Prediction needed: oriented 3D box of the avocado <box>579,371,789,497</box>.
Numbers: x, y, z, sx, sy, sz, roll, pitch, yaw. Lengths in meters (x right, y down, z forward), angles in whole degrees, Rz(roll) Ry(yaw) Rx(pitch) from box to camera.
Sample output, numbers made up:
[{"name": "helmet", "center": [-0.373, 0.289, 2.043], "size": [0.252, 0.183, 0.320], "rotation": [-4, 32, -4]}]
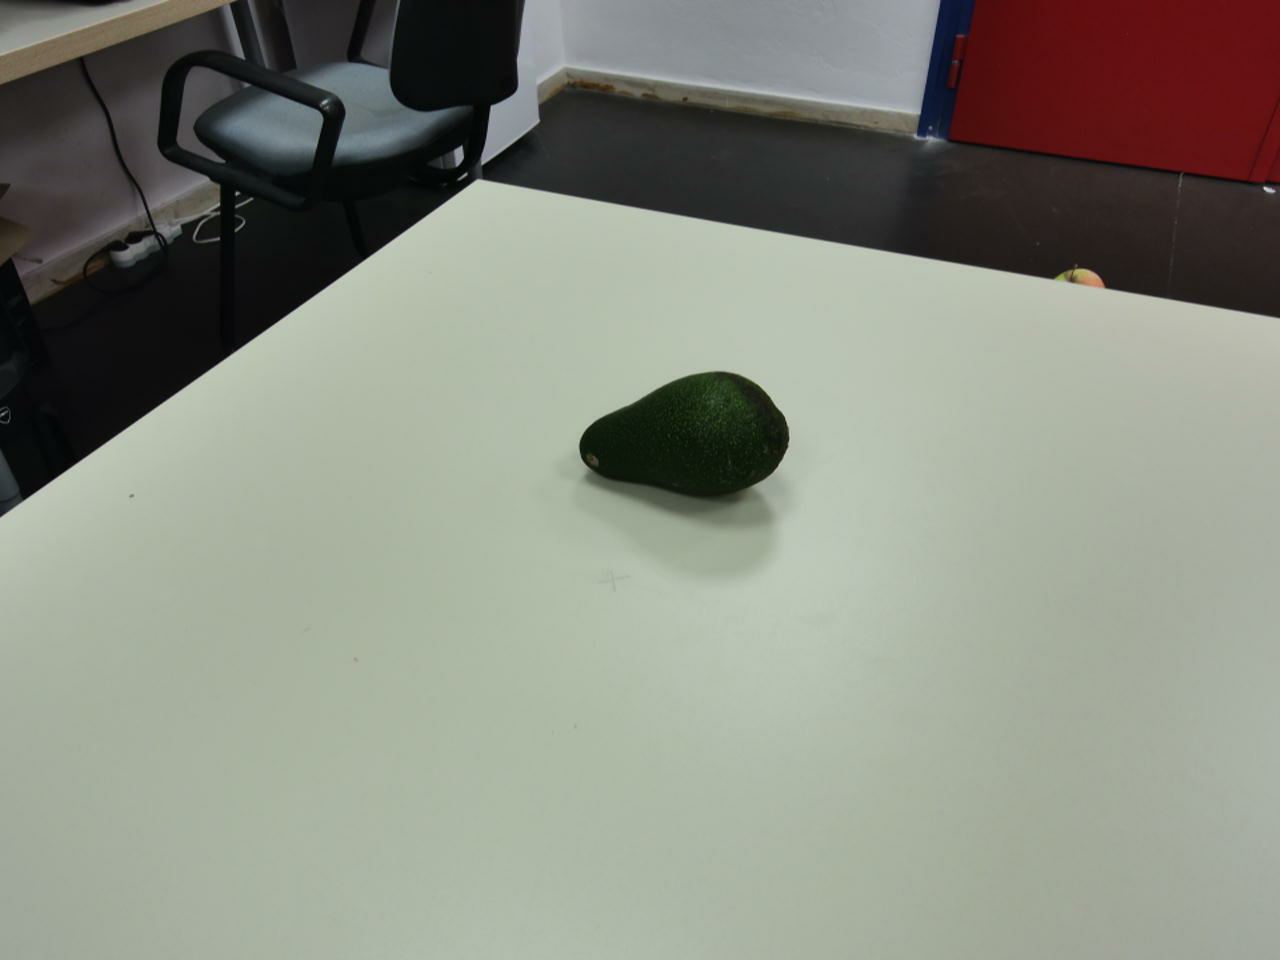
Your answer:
[{"name": "avocado", "center": [0.028, -0.031, 0.592], "size": [0.123, 0.076, 0.074], "rotation": [20, 43, 24]}]
